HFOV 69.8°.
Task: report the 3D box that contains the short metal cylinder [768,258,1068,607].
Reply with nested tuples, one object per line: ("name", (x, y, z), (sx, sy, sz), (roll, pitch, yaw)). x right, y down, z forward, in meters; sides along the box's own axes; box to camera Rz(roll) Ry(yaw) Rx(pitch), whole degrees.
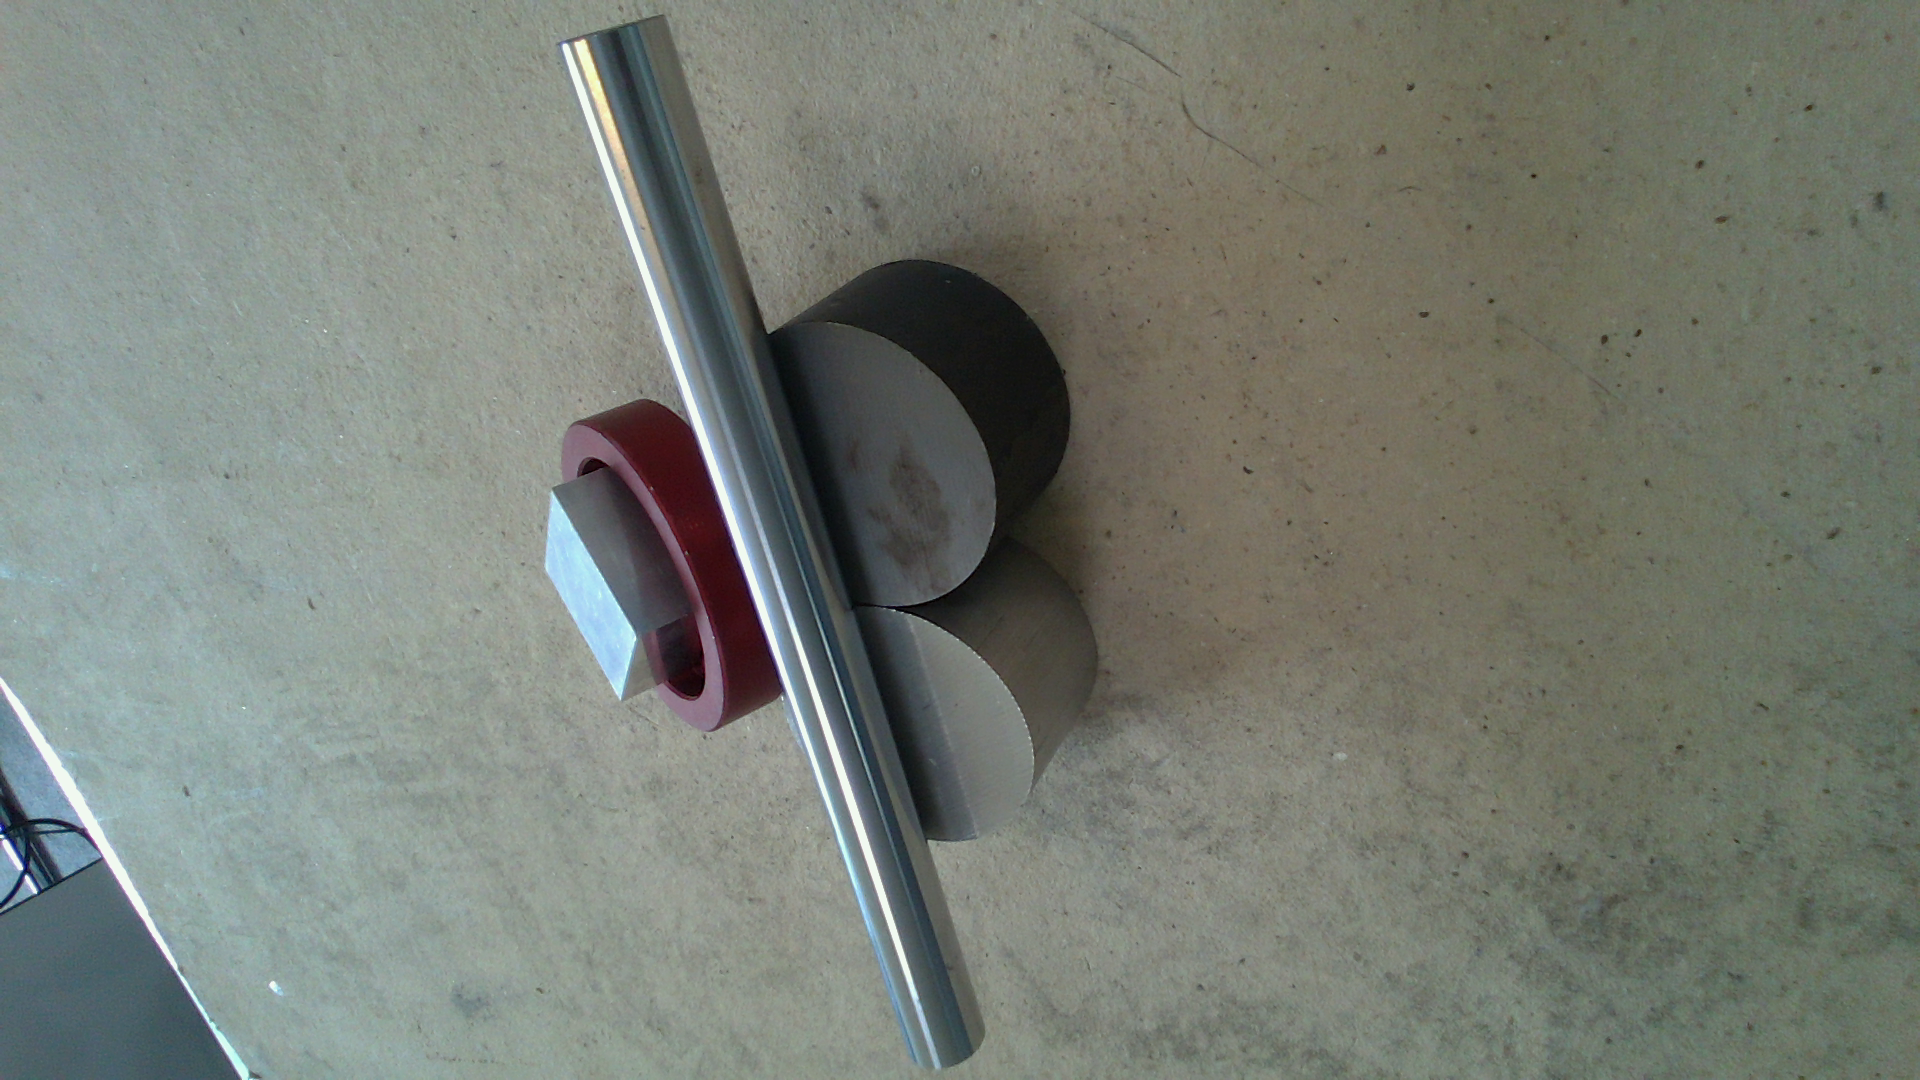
("short metal cylinder", (-0.017, -0.029, 0.368), (0.080, 0.050, 0.080), (13, 124, 21))

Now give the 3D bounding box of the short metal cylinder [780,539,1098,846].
("short metal cylinder", (-0.006, 0.042, 0.405), (0.080, 0.050, 0.080), (13, 123, 21))

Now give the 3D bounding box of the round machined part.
("round machined part", (-0.077, 0.004, 0.409), (0.098, 0.042, 0.098), (40, 144, 39))

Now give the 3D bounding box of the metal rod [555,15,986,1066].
("metal rod", (-0.040, 0.020, 0.363), (0.025, 0.025, 0.300), (-1, 118, 29))

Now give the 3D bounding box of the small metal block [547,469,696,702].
("small metal block", (-0.097, 0.012, 0.400), (0.050, 0.025, 0.050), (57, 151, 14))
